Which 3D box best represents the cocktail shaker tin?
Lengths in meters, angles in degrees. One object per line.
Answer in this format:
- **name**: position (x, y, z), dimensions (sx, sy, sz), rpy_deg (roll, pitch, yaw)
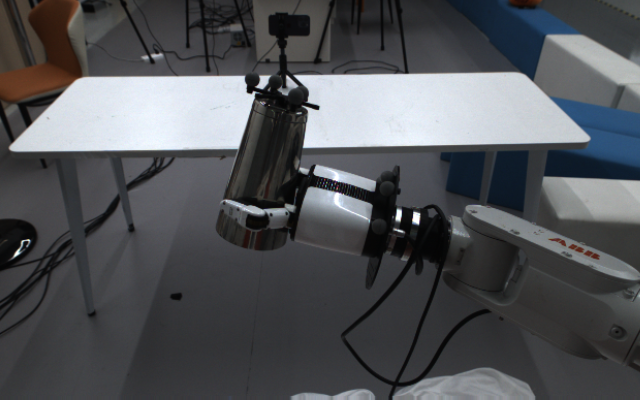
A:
- **cocktail shaker tin**: position (-0.066, -0.035, 0.594), dimensions (0.093, 0.170, 0.093), rpy_deg (14, 20, -5)
